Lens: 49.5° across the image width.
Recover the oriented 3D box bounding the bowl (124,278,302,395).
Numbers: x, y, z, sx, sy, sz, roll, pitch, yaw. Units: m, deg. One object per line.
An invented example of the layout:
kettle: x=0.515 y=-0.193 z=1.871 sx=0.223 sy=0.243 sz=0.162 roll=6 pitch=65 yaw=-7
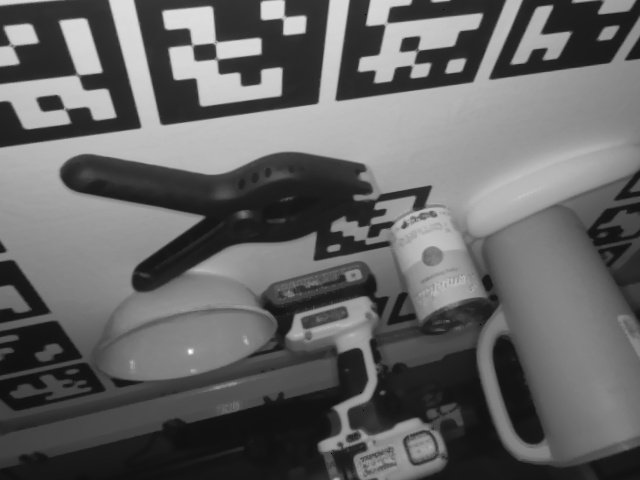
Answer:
bowl: x=-0.101 y=0.082 z=0.639 sx=0.163 sy=0.055 sz=0.160 roll=-14 pitch=145 yaw=-9

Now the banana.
banana: x=0.240 y=-0.042 z=0.650 sx=0.196 sy=0.039 sz=0.074 roll=-23 pitch=155 yaw=10

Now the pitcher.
pitcher: x=0.258 y=0.106 z=0.684 sx=0.188 sy=0.243 sz=0.133 roll=-24 pitch=150 yaw=8

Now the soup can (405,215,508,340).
soup can: x=0.126 y=0.036 z=0.645 sx=0.068 sy=0.102 sz=0.067 roll=-14 pitch=155 yaw=-6

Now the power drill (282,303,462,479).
power drill: x=0.023 y=0.163 z=0.664 sx=0.186 sy=0.187 sz=0.057 roll=-13 pitch=147 yaw=-8

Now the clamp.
clamp: x=-0.036 y=-0.021 z=0.526 sx=0.204 sy=0.037 sz=0.164 roll=-12 pitch=143 yaw=-10
